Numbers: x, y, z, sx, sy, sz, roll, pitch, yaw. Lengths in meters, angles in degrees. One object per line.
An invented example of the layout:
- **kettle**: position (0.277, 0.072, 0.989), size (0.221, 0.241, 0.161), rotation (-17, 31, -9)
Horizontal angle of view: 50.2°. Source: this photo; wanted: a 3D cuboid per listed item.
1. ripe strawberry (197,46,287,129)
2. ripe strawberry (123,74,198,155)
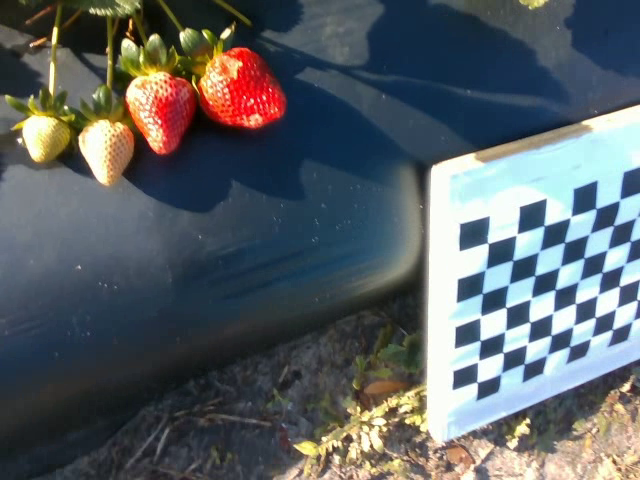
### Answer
- **ripe strawberry**: position (-0.044, -0.090, 0.416), size (0.067, 0.057, 0.051), rotation (37, 15, 17)
- **ripe strawberry**: position (-0.095, -0.076, 0.406), size (0.050, 0.061, 0.043), rotation (4, -17, -31)
